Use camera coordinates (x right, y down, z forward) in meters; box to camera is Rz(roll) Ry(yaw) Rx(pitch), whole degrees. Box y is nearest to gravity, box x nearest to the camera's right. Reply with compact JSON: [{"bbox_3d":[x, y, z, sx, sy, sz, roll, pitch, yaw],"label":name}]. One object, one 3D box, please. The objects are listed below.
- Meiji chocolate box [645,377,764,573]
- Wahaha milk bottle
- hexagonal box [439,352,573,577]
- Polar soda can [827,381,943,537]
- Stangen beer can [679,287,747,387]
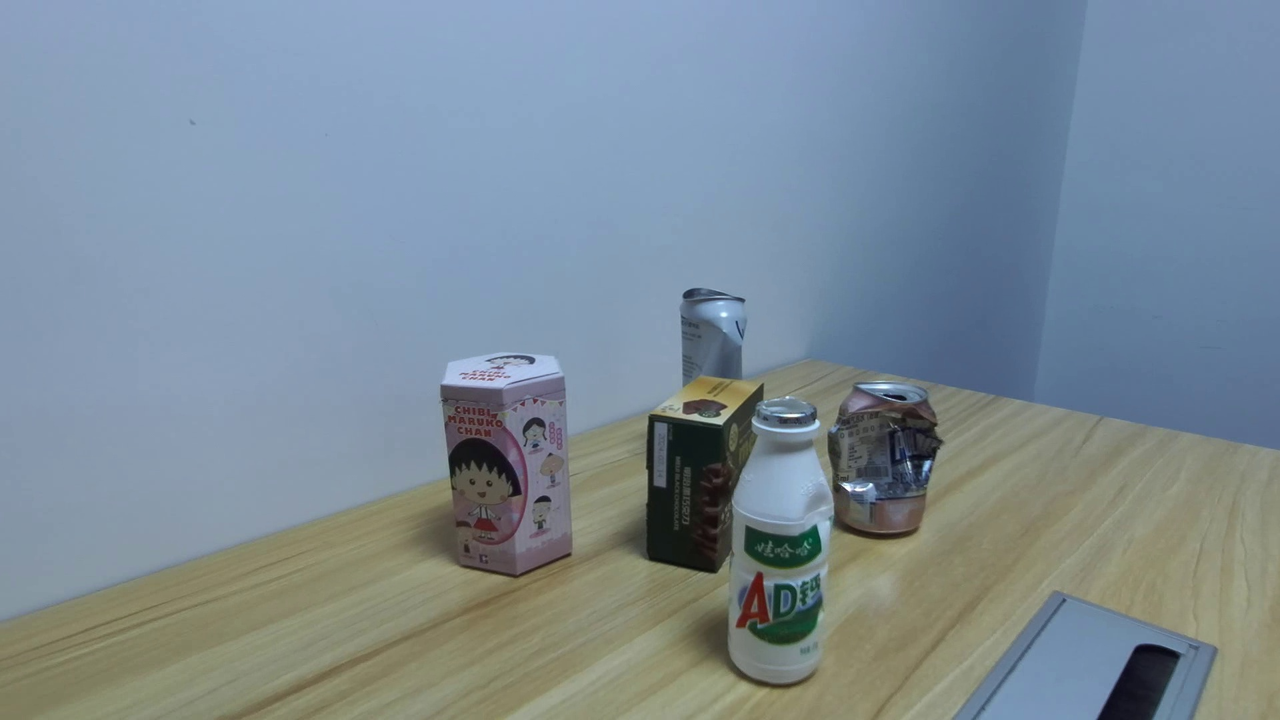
[{"bbox_3d":[0.050,0.078,0.516,0.056,0.109,0.110,6,16,23],"label":"Meiji chocolate box"},{"bbox_3d":[0.074,0.099,0.372,0.053,0.136,0.053,2,14,0],"label":"Wahaha milk bottle"},{"bbox_3d":[-0.092,0.071,0.497,0.091,0.136,0.084,4,15,18],"label":"hexagonal box"},{"bbox_3d":[0.183,0.072,0.530,0.070,0.114,0.074,16,25,30],"label":"Polar soda can"},{"bbox_3d":[0.063,0.021,0.628,0.077,0.162,0.066,8,17,29],"label":"Stangen beer can"}]
